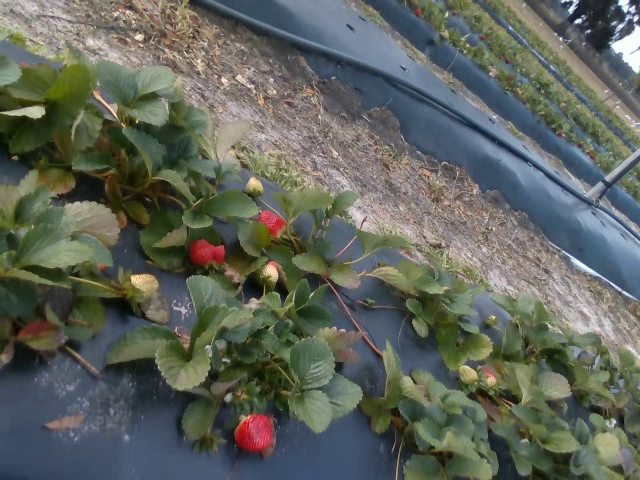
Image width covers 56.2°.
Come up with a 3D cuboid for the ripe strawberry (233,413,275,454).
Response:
[{"bbox_3d":[-0.078,0.239,0.723,0.050,0.049,0.053,27,3,-32],"label":"ripe strawberry"}]
